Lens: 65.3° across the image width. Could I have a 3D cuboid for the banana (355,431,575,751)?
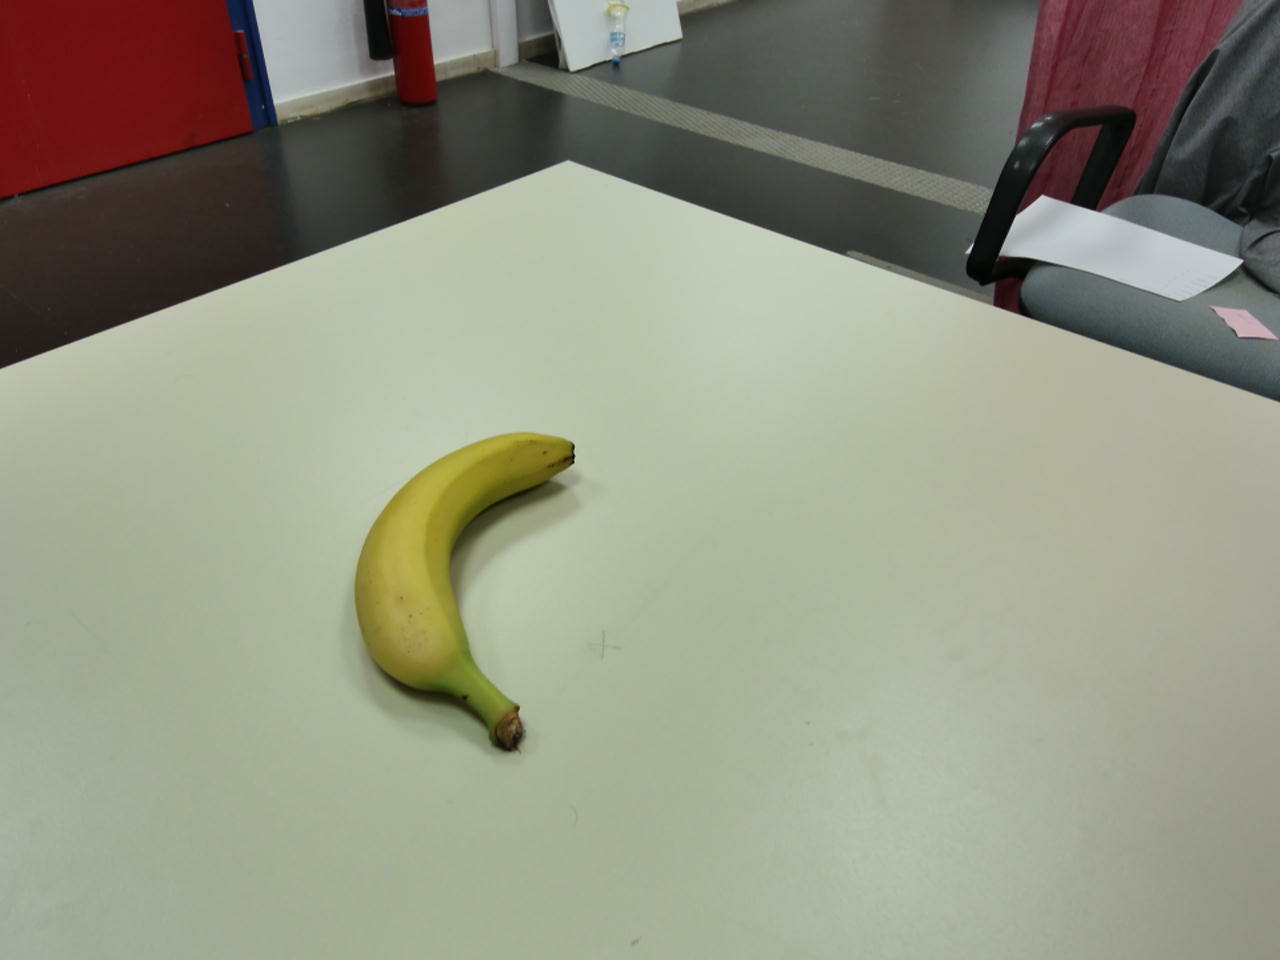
[{"bbox_3d":[-0.089,0.038,0.490,0.094,0.041,0.196,4,36,3],"label":"banana"}]
